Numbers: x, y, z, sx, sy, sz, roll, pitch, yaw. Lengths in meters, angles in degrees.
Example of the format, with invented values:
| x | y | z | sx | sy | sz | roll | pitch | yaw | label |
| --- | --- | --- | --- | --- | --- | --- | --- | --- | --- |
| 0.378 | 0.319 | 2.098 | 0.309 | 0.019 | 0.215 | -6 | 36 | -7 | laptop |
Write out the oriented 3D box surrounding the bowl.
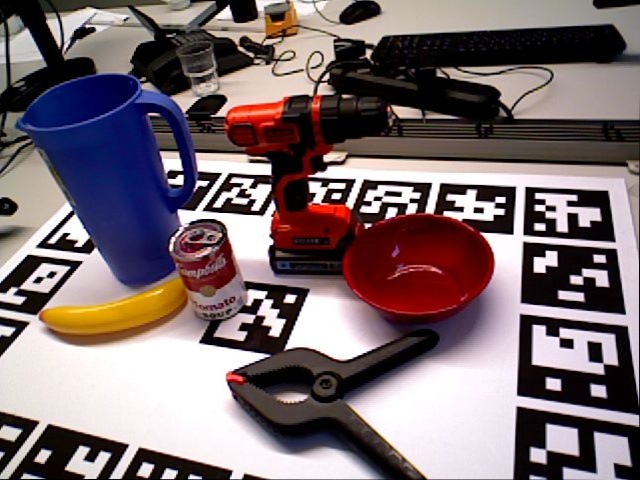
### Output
| x | y | z | sx | sy | sz | roll | pitch | yaw | label |
| --- | --- | --- | --- | --- | --- | --- | --- | --- | --- |
| 0.106 | 0.029 | 0.586 | 0.162 | 0.056 | 0.159 | -8 | 43 | 7 | bowl |

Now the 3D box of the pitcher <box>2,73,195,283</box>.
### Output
| x | y | z | sx | sy | sz | roll | pitch | yaw | label |
| --- | --- | --- | --- | --- | --- | --- | --- | --- | --- |
| -0.235 | -0.073 | 0.645 | 0.188 | 0.247 | 0.131 | -13 | 38 | -1 | pitcher |

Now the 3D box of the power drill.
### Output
| x | y | z | sx | sy | sz | roll | pitch | yaw | label |
| --- | --- | --- | --- | --- | --- | --- | --- | --- | --- |
| 0.003 | -0.078 | 0.602 | 0.185 | 0.190 | 0.056 | 0 | 43 | 13 | power drill |

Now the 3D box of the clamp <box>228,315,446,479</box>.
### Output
| x | y | z | sx | sy | sz | roll | pitch | yaw | label |
| --- | --- | --- | --- | --- | --- | --- | --- | --- | --- |
| 0.012 | 0.134 | 0.499 | 0.203 | 0.037 | 0.162 | 1 | 47 | 16 | clamp |

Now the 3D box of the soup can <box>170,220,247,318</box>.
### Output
| x | y | z | sx | sy | sz | roll | pitch | yaw | label |
| --- | --- | --- | --- | --- | --- | --- | --- | --- | --- |
| -0.124 | 0.028 | 0.613 | 0.068 | 0.104 | 0.067 | -6 | 33 | 3 | soup can |

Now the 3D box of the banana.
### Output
| x | y | z | sx | sy | sz | roll | pitch | yaw | label |
| --- | --- | --- | --- | --- | --- | --- | --- | --- | --- |
| -0.249 | 0.080 | 0.639 | 0.196 | 0.039 | 0.073 | -13 | 33 | -2 | banana |
